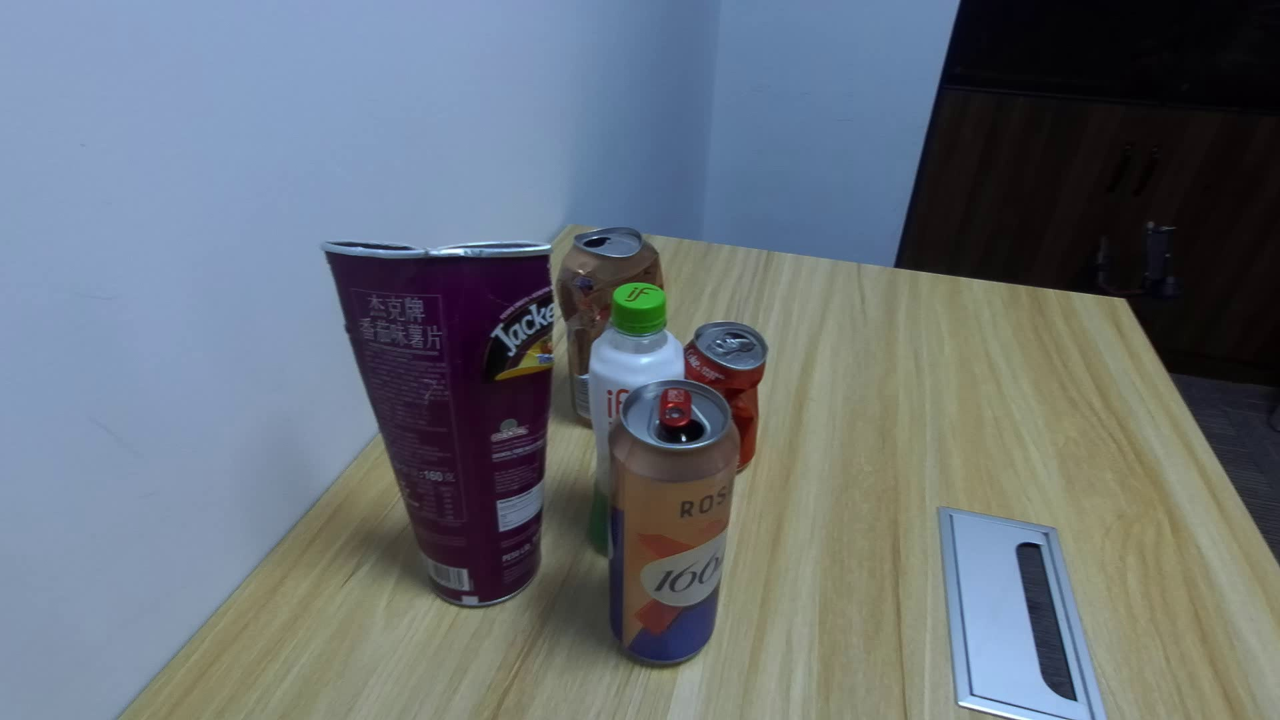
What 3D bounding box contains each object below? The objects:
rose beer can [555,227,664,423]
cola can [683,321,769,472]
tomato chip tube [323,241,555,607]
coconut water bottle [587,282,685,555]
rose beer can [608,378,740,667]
[{"bbox_3d":[-0.020,-0.013,0.546,0.068,0.161,0.074,-3,5,25],"label":"rose beer can"},{"bbox_3d":[0.060,0.031,0.539,0.069,0.112,0.065,1,35,-3],"label":"cola can"},{"bbox_3d":[-0.100,0.041,0.414,0.089,0.236,0.078,24,40,32],"label":"tomato chip tube"},{"bbox_3d":[-0.003,0.041,0.453,0.063,0.189,0.063,2,33,-1],"label":"coconut water bottle"},{"bbox_3d":[0.016,0.096,0.396,0.068,0.169,0.068,2,34,-1],"label":"rose beer can"}]
